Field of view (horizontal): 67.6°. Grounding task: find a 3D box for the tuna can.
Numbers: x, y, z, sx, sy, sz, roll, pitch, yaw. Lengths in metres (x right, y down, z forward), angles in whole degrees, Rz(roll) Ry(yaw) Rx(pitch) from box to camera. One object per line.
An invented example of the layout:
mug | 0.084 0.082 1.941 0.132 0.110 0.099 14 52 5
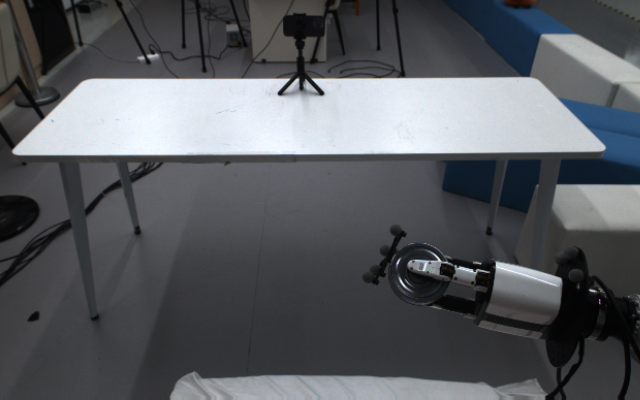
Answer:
tuna can | 0.142 0.101 0.679 0.085 0.034 0.085 -2 71 5
